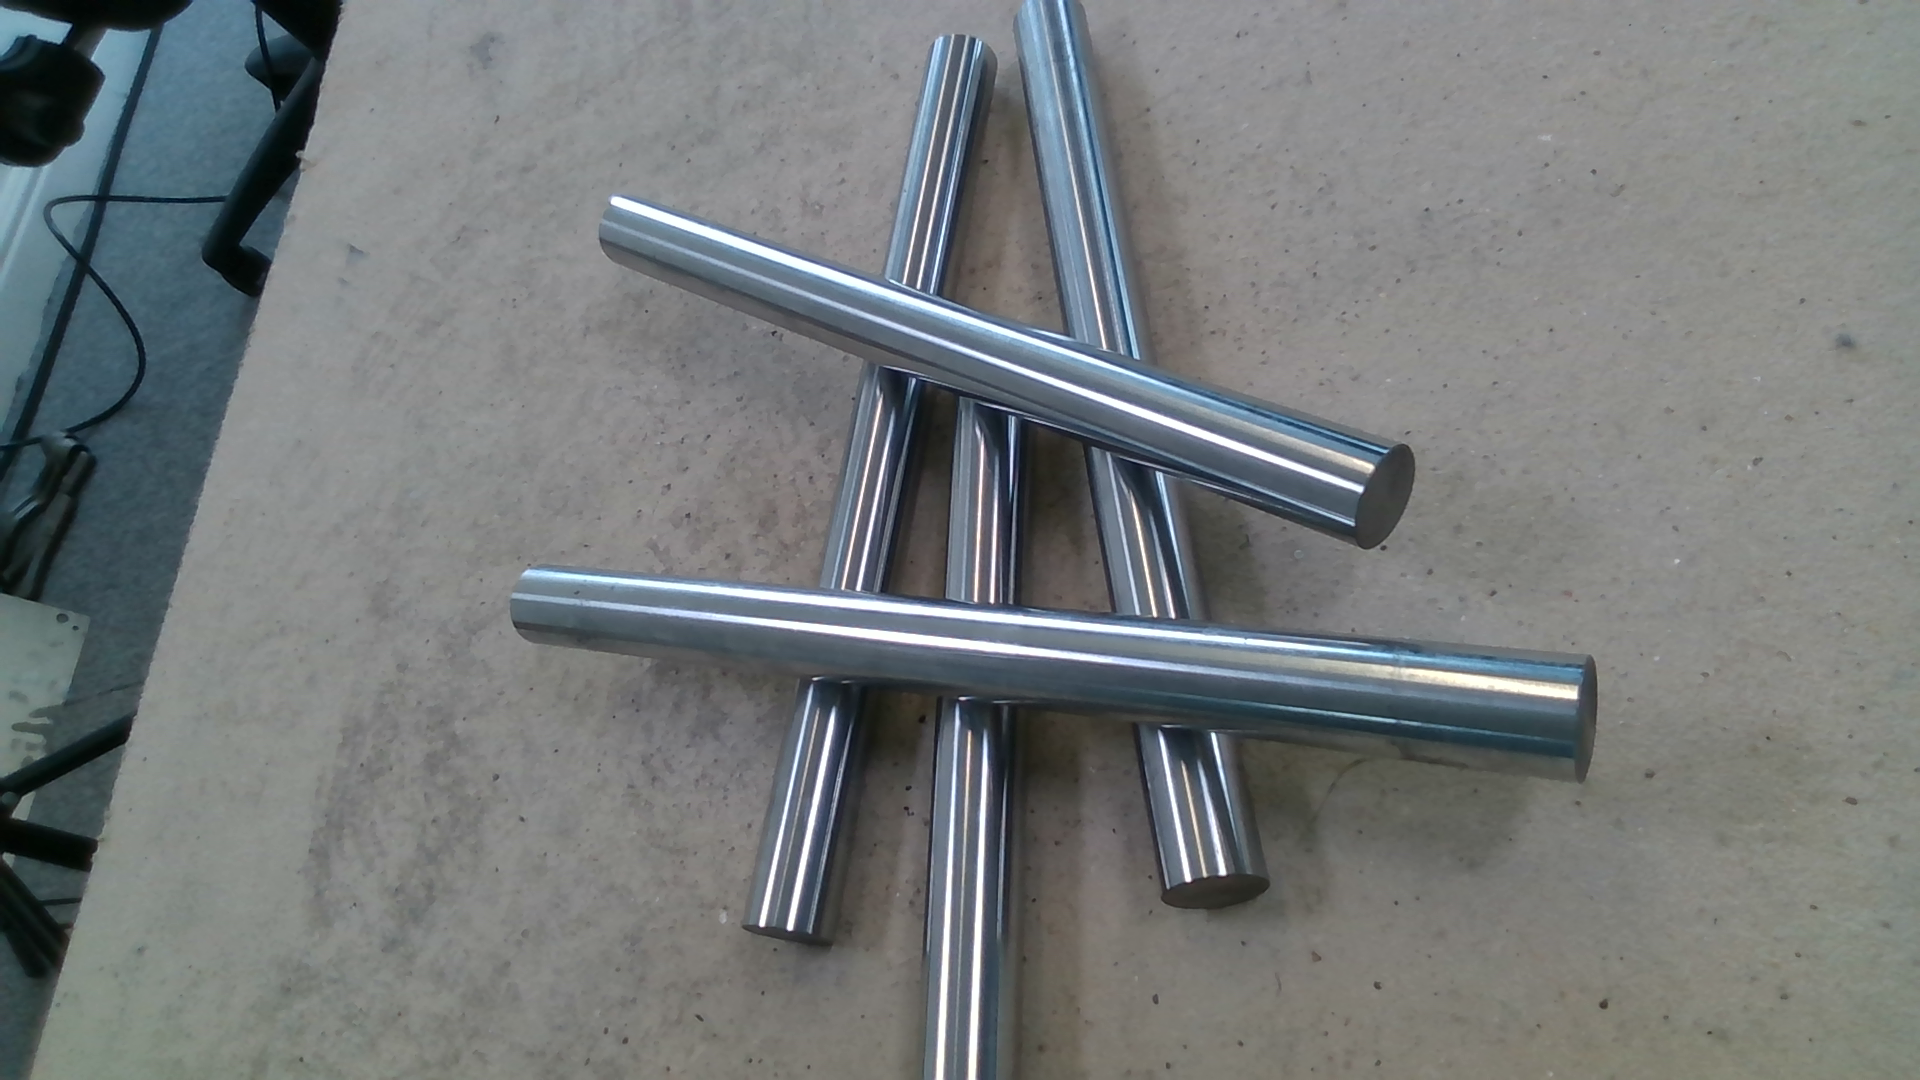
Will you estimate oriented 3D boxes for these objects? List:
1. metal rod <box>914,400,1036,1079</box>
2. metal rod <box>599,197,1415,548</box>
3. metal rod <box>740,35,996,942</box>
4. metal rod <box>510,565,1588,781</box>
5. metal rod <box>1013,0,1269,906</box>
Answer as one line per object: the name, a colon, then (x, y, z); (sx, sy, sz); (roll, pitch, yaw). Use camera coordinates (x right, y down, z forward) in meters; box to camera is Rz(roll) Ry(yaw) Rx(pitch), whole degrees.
metal rod: (0.004, 0.076, 0.350); (0.025, 0.025, 0.299); (-11, 60, 27)
metal rod: (-0.012, -0.060, 0.400); (0.300, 0.025, 0.025); (25, 80, 38)
metal rod: (-0.023, -0.031, 0.424); (0.025, 0.025, 0.299); (-4, 64, 30)
metal rod: (-0.005, 0.027, 0.350); (0.300, 0.025, 0.025); (3, 67, 33)
metal rod: (0.044, -0.048, 0.391); (0.025, 0.025, 0.299); (-20, 57, 22)
